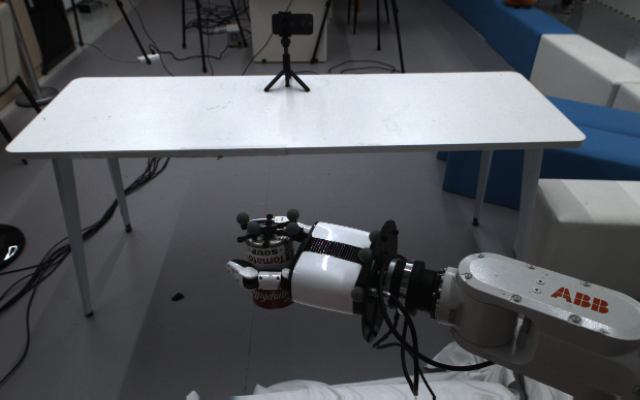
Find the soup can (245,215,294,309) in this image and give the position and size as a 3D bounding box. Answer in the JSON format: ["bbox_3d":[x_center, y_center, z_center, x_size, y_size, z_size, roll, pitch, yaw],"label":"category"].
[{"bbox_3d":[-0.064,0.091,0.671,0.067,0.101,0.067,-4,26,2],"label":"soup can"}]
